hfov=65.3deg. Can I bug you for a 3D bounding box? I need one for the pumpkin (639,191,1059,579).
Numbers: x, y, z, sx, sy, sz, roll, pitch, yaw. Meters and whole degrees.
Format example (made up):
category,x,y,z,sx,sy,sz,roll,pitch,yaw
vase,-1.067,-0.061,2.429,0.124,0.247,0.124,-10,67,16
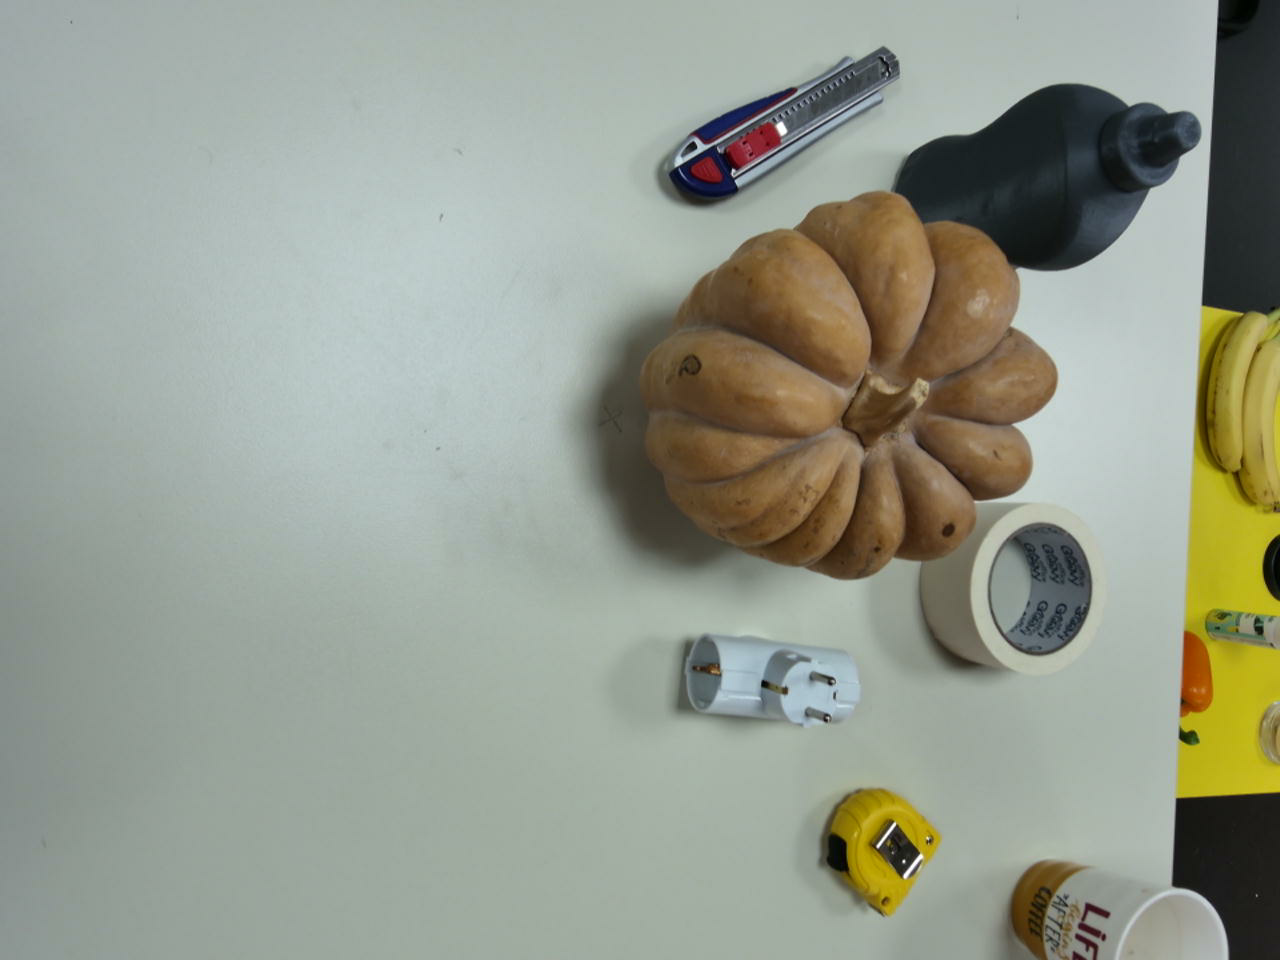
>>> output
category,x,y,z,sx,sy,sz,roll,pitch,yaw
pumpkin,0.099,-0.044,0.518,0.198,0.177,0.198,0,90,-22
